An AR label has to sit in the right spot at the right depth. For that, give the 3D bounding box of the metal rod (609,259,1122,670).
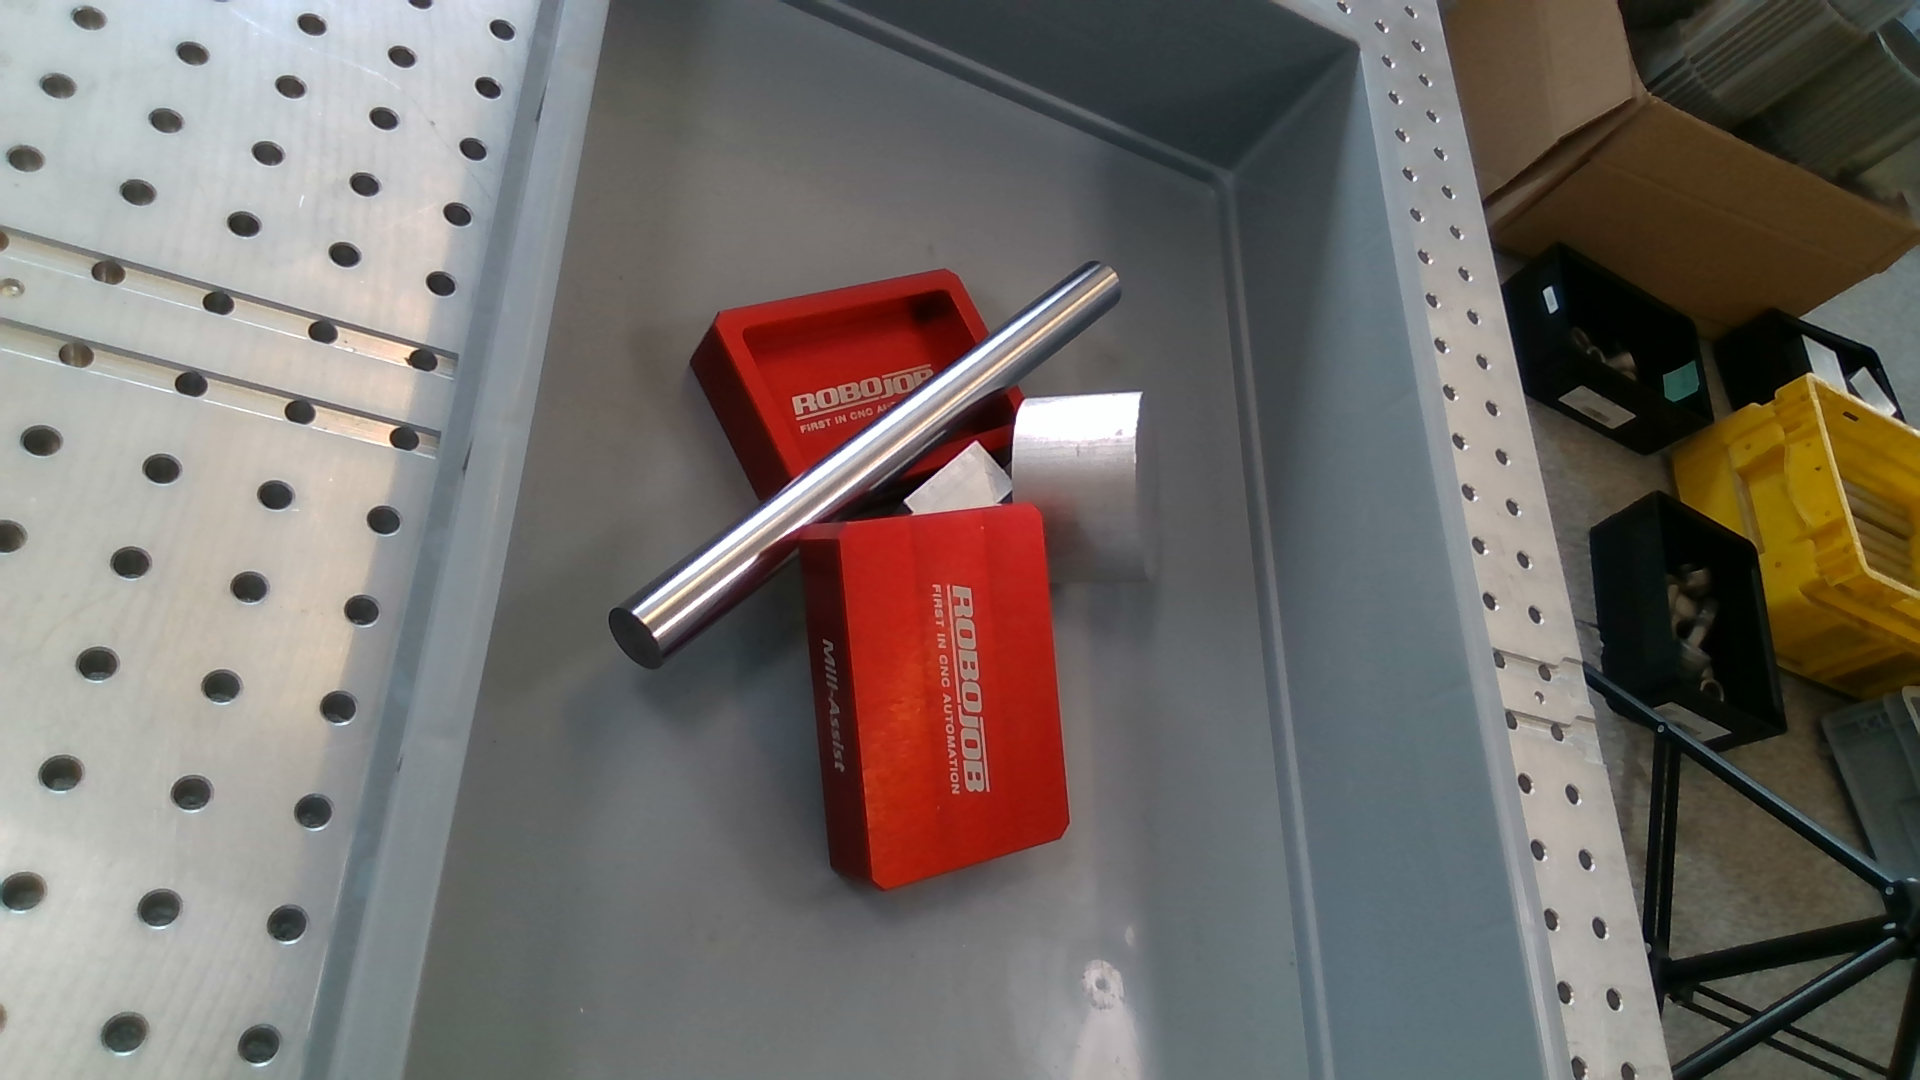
[{"bbox_3d":[-0.022,-0.044,0.556,0.025,0.025,0.299,49,51,0],"label":"metal rod"}]

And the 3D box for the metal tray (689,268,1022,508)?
[{"bbox_3d":[-0.038,-0.063,0.591,0.130,0.030,0.090,-20,77,-37],"label":"metal tray"}]

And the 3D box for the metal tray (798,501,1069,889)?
[{"bbox_3d":[-0.008,0.054,0.515,0.090,0.030,0.130,-8,94,-34],"label":"metal tray"}]

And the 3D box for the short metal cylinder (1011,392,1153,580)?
[{"bbox_3d":[0.055,-0.022,0.587,0.050,0.080,0.080,-1,57,15],"label":"short metal cylinder"}]

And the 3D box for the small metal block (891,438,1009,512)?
[{"bbox_3d":[-0.011,-0.009,0.566,0.025,0.050,0.050,48,51,0],"label":"small metal block"}]
